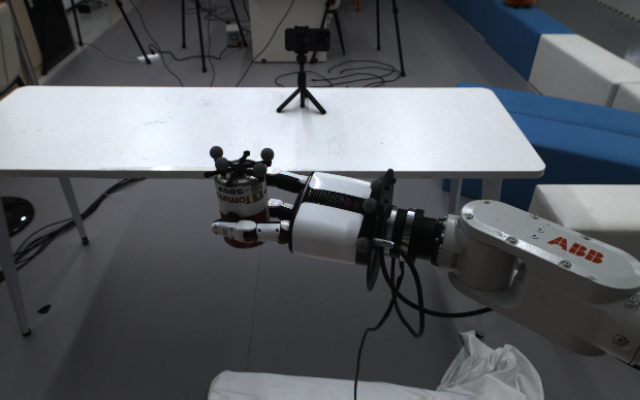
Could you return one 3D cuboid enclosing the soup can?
[{"bbox_3d":[-0.101,0.006,0.653,0.067,0.101,0.067,-2,33,1],"label":"soup can"}]
